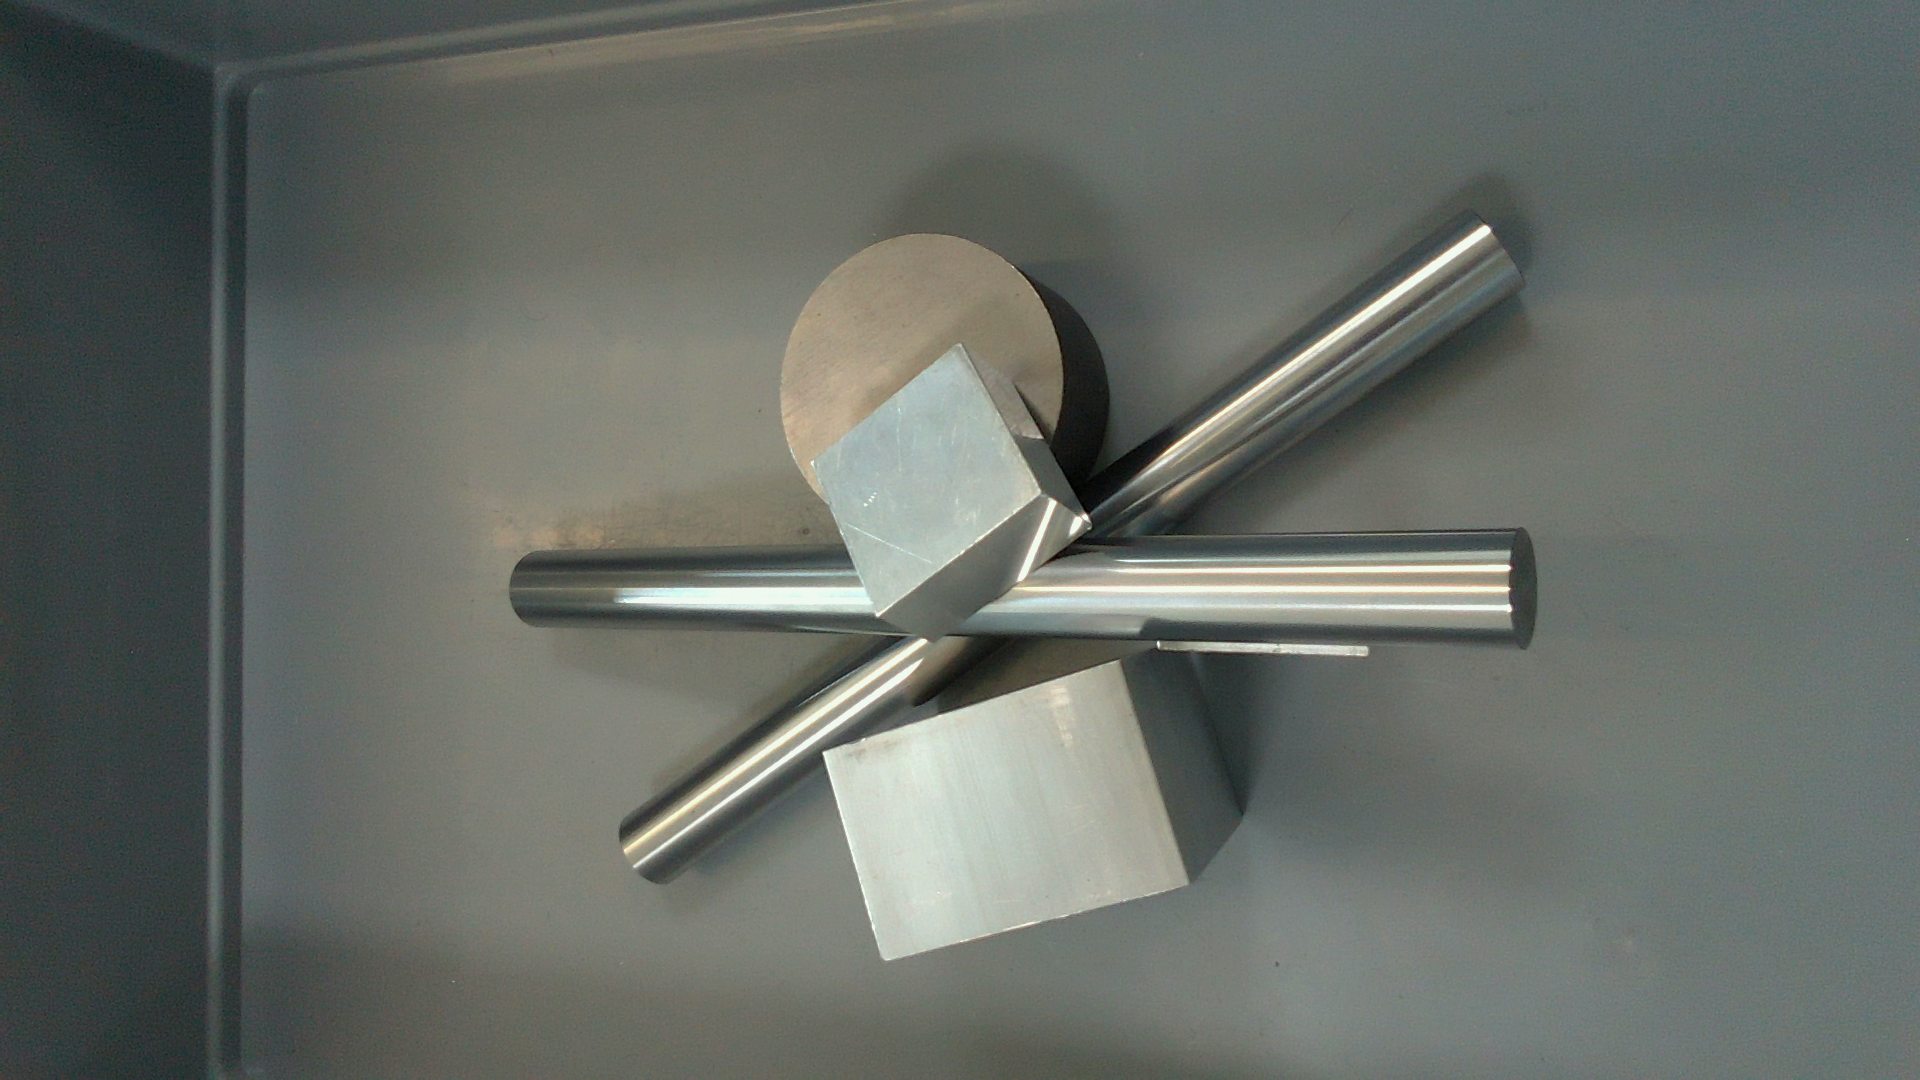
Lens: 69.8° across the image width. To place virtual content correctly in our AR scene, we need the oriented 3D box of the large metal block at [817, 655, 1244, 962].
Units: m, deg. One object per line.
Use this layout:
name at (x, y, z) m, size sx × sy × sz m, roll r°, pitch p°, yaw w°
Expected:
large metal block at (0.022, 0.065, 0.357) m, size 0.080 × 0.080 × 0.050 m, roll -19°, pitch 84°, yaw 19°

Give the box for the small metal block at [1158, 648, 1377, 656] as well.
small metal block at (0.081, 0.015, 0.352) m, size 0.050 × 0.050 × 0.025 m, roll 0°, pitch 90°, yaw 21°

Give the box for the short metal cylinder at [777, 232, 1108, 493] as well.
short metal cylinder at (-0.003, -0.040, 0.382) m, size 0.080 × 0.050 × 0.080 m, roll 0°, pitch 89°, yaw 20°

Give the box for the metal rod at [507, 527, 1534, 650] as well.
metal rod at (-0.011, 0.013, 0.361) m, size 0.299 × 0.025 × 0.025 m, roll -1°, pitch 90°, yaw 33°

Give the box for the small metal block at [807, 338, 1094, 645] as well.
small metal block at (-0.003, -0.011, 0.334) m, size 0.050 × 0.025 × 0.050 m, roll -37°, pitch 55°, yaw 16°

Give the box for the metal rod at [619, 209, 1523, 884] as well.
metal rod at (0.019, 0.012, 0.389) m, size 0.299 × 0.025 × 0.025 m, roll -36°, pitch 78°, yaw 16°
